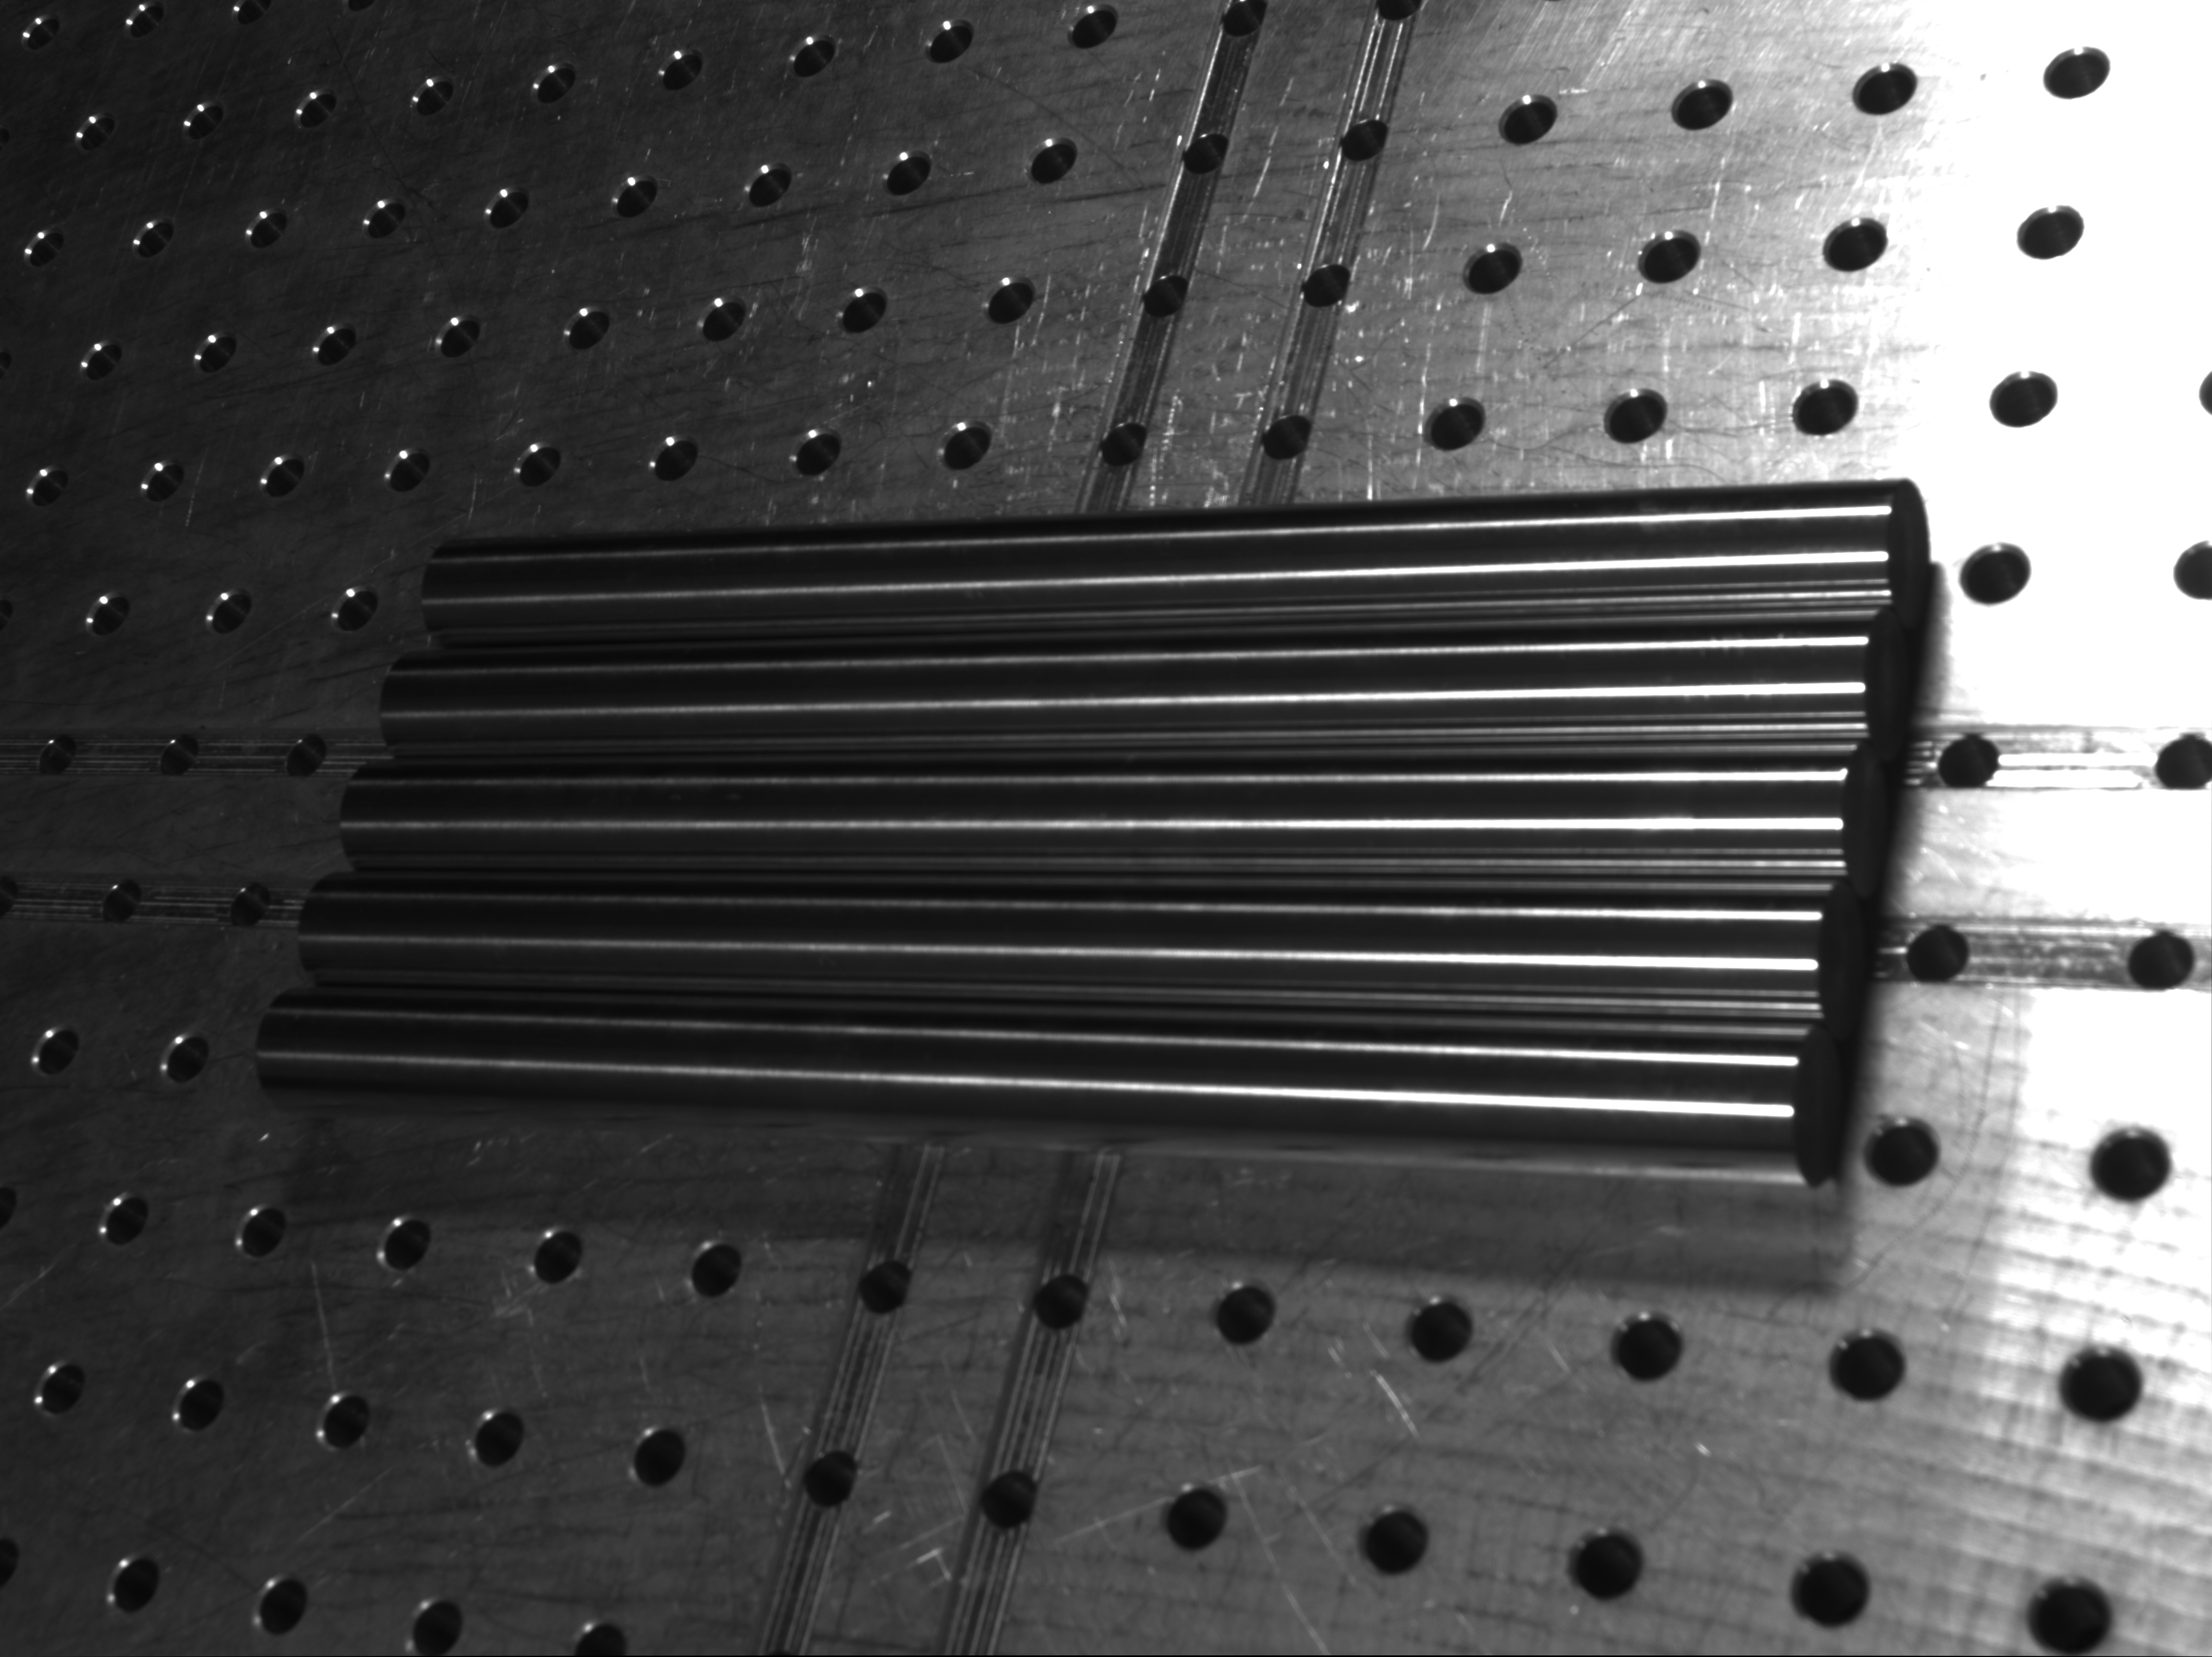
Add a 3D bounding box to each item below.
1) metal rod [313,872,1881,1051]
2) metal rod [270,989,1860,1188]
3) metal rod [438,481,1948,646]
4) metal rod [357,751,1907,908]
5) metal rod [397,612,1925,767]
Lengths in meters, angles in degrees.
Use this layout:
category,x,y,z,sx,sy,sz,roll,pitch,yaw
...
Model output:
category,x,y,z,sx,sy,sz,roll,pitch,yaw
metal rod,-0.014,0.022,0.642,0.299,0.025,0.025,0,62,28
metal rod,-0.020,0.043,0.631,0.299,0.025,0.025,0,61,28
metal rod,0.004,-0.045,0.674,0.299,0.025,0.025,0,62,28
metal rod,-0.008,-0.001,0.652,0.299,0.025,0.025,0,62,28
metal rod,-0.003,-0.023,0.663,0.299,0.025,0.025,0,62,28
